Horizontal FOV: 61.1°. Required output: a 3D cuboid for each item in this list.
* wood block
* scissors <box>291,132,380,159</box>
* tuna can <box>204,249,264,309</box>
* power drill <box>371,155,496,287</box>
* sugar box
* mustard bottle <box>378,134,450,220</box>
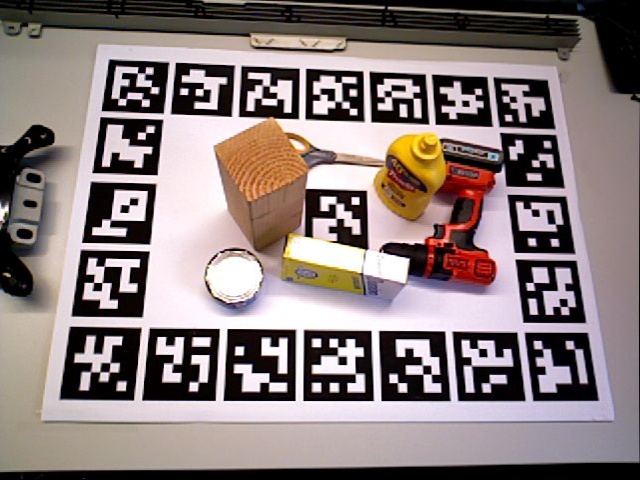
[{"bbox_3d":[-0.077,-0.070,0.747,0.090,0.209,0.090,-27,77,-12],"label":"wood block"},{"bbox_3d":[-0.005,-0.137,0.861,0.201,0.016,0.087,3,70,-3],"label":"scissors"},{"bbox_3d":[-0.124,0.055,0.785,0.085,0.034,0.085,1,74,-4],"label":"tuna can"},{"bbox_3d":[0.182,-0.032,0.821,0.184,0.058,0.186,14,80,0],"label":"power drill"},{"bbox_3d":[0.043,0.043,0.774,0.175,0.094,0.045,13,68,-2],"label":"sugar box"},{"bbox_3d":[0.140,-0.100,0.777,0.058,0.194,0.096,-39,80,-14],"label":"mustard bottle"}]
